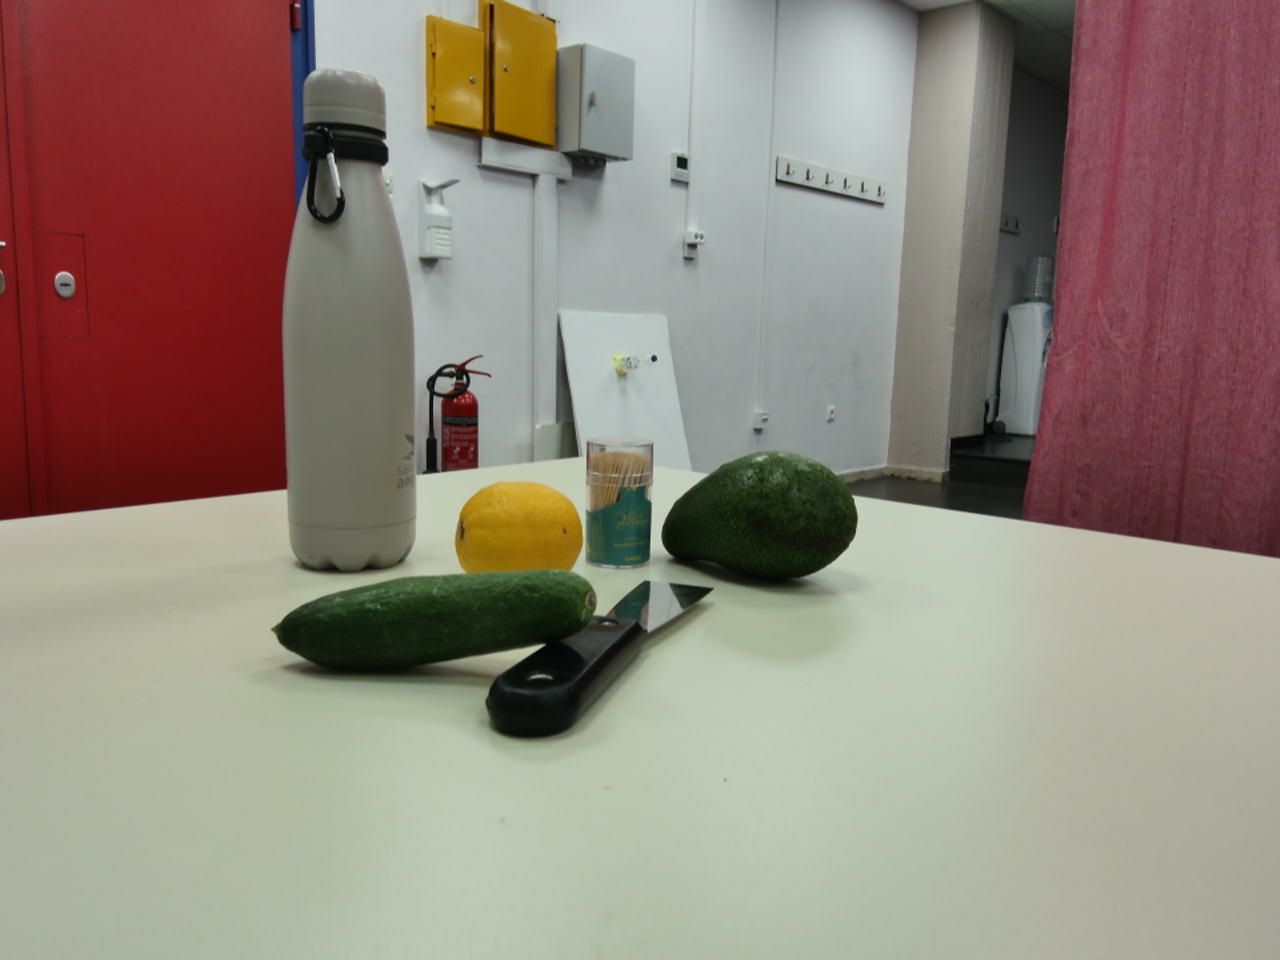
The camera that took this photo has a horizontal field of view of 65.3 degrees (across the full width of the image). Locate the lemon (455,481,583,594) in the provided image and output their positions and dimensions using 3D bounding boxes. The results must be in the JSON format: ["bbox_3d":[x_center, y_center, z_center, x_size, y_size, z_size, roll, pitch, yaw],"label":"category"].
[{"bbox_3d":[-0.064,0.031,0.529,0.067,0.059,0.061,0,7,-6],"label":"lemon"}]
